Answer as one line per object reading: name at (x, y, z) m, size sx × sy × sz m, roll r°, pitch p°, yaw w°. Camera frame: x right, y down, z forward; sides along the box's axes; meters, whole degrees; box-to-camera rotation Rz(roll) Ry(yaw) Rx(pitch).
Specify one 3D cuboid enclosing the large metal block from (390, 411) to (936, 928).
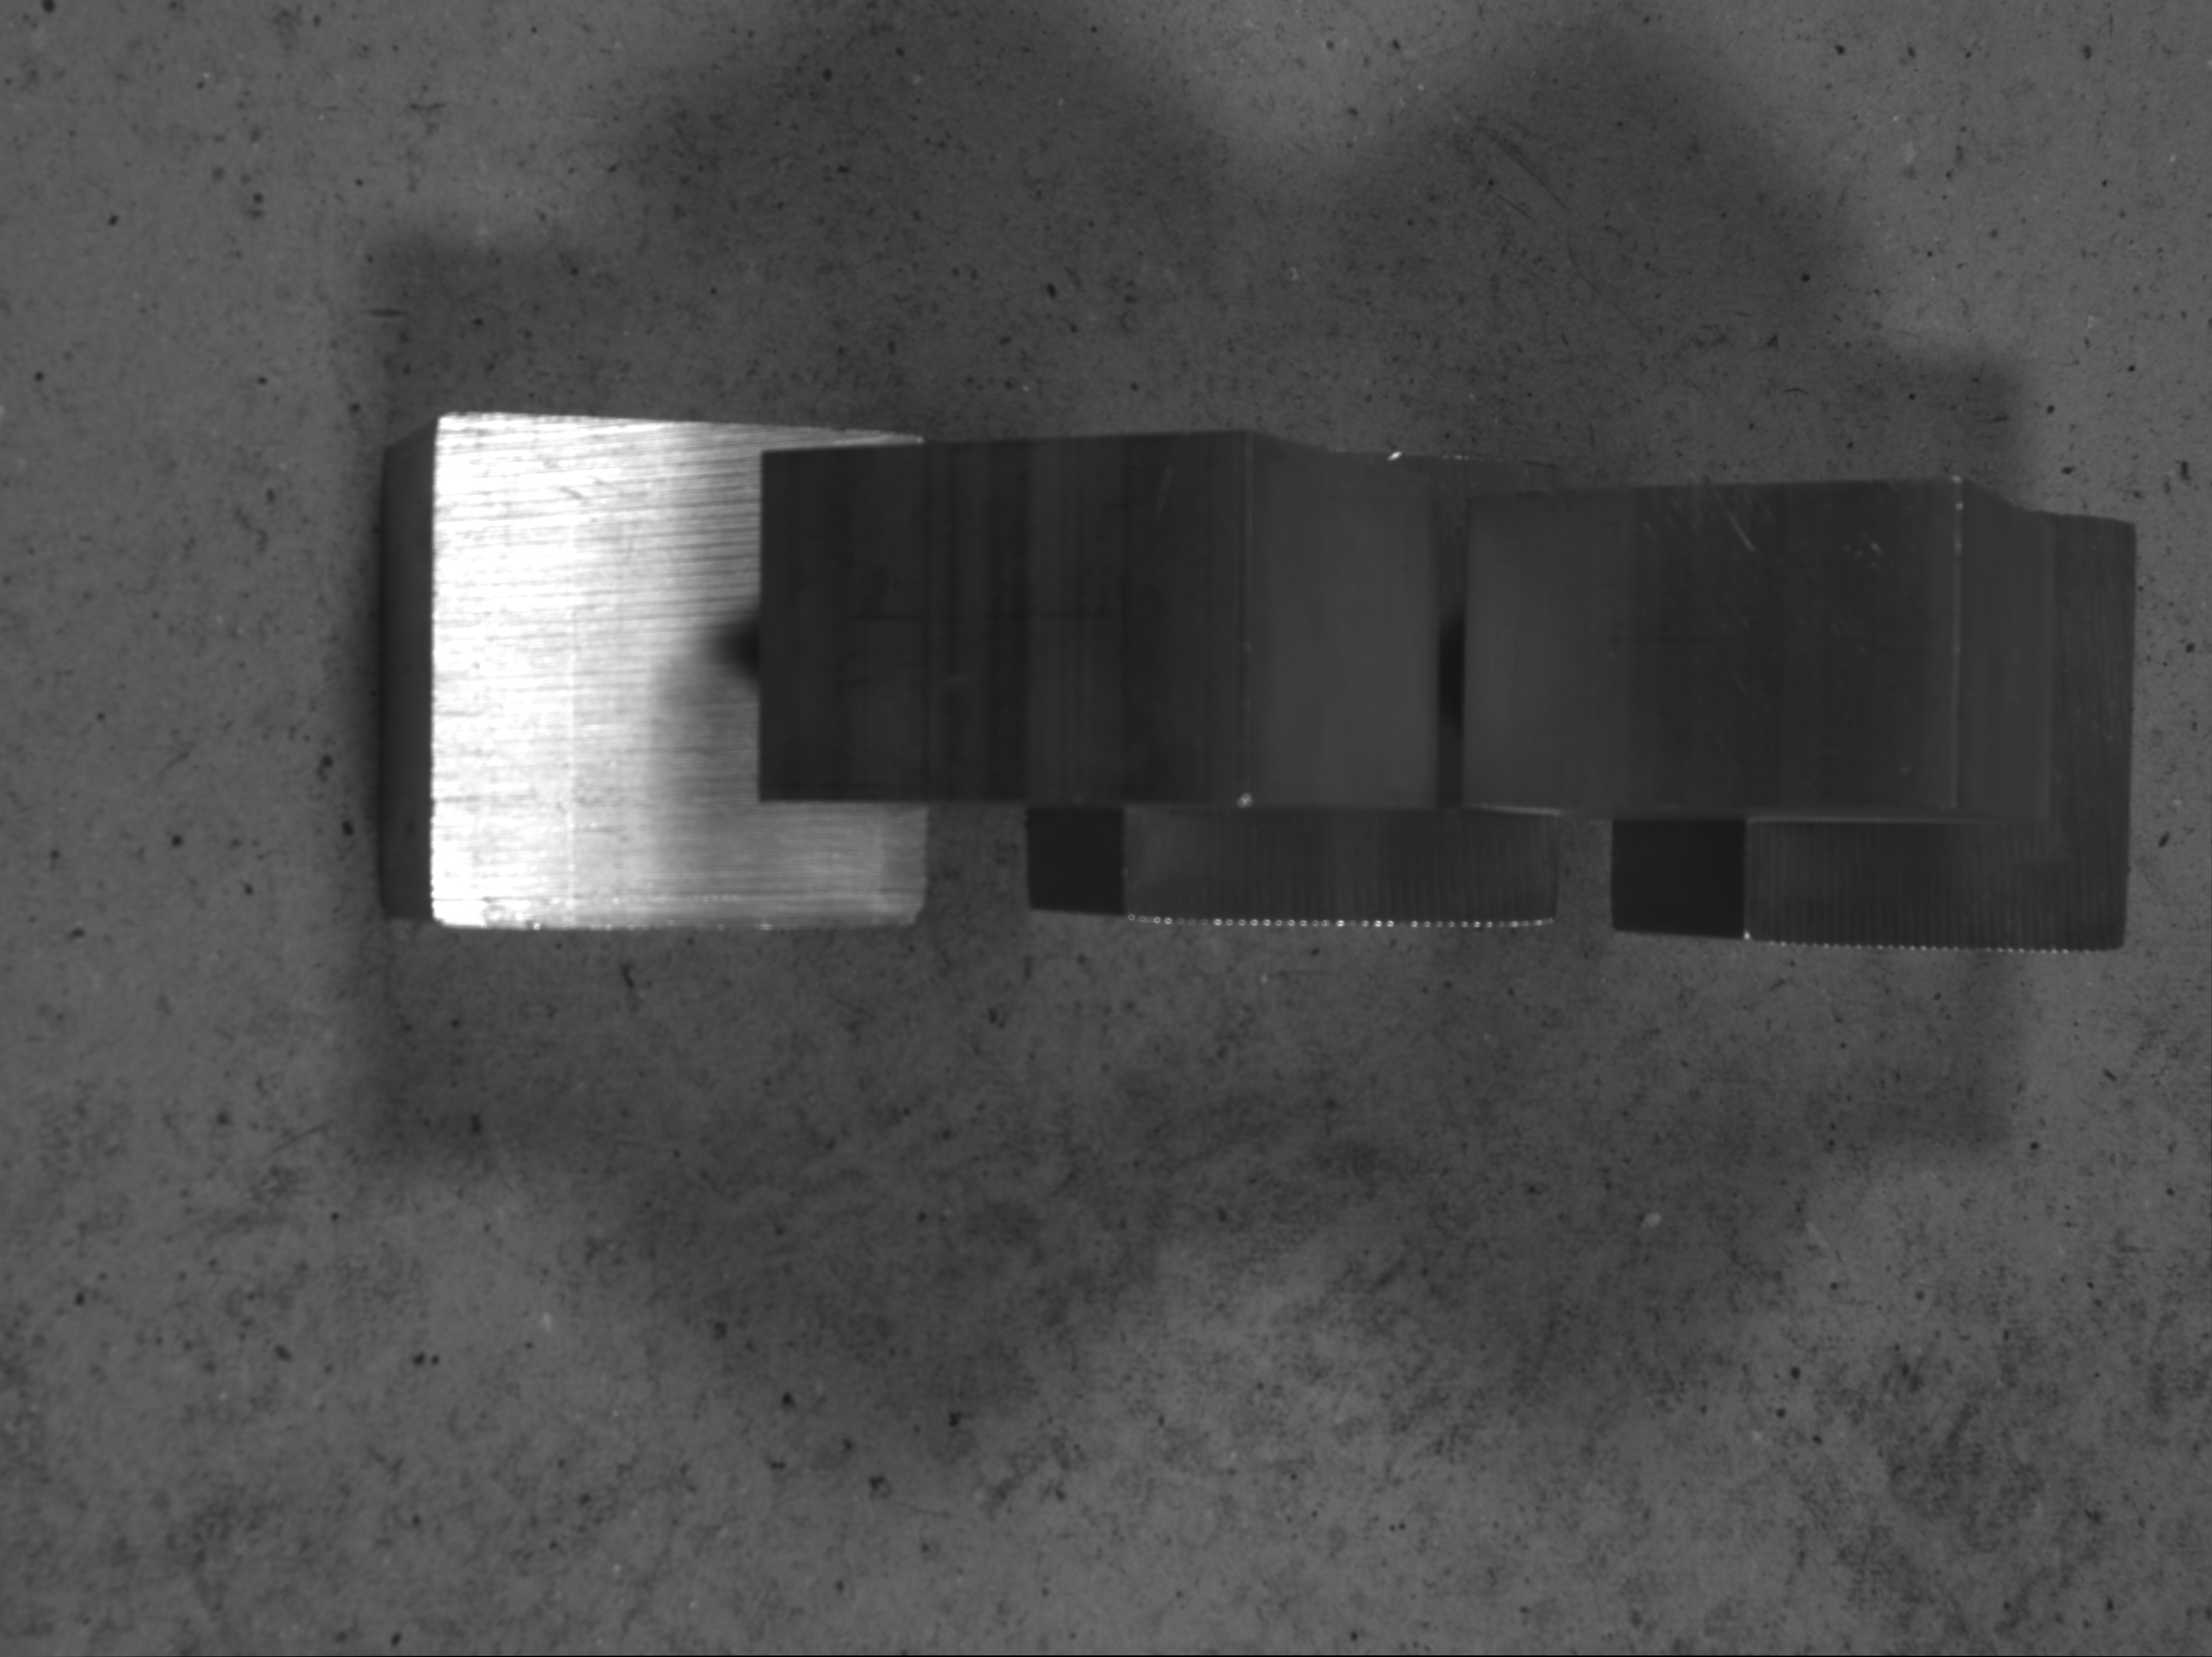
large metal block at (-0.074, -0.024, 0.604) m, size 0.080 × 0.050 × 0.080 m, roll 0°, pitch 90°, yaw -20°

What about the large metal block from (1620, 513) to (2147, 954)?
large metal block at (0.144, -0.018, 0.683) m, size 0.080 × 0.050 × 0.080 m, roll 2°, pitch 89°, yaw -20°

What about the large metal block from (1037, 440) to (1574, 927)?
large metal block at (0.034, -0.024, 0.643) m, size 0.080 × 0.050 × 0.080 m, roll 1°, pitch 90°, yaw -20°

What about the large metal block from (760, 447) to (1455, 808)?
large metal block at (0.002, -0.028, 0.562) m, size 0.080 × 0.080 × 0.050 m, roll -1°, pitch 91°, yaw -65°

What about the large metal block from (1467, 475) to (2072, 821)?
large metal block at (0.111, -0.028, 0.604) m, size 0.080 × 0.080 × 0.050 m, roll 1°, pitch 89°, yaw 25°
